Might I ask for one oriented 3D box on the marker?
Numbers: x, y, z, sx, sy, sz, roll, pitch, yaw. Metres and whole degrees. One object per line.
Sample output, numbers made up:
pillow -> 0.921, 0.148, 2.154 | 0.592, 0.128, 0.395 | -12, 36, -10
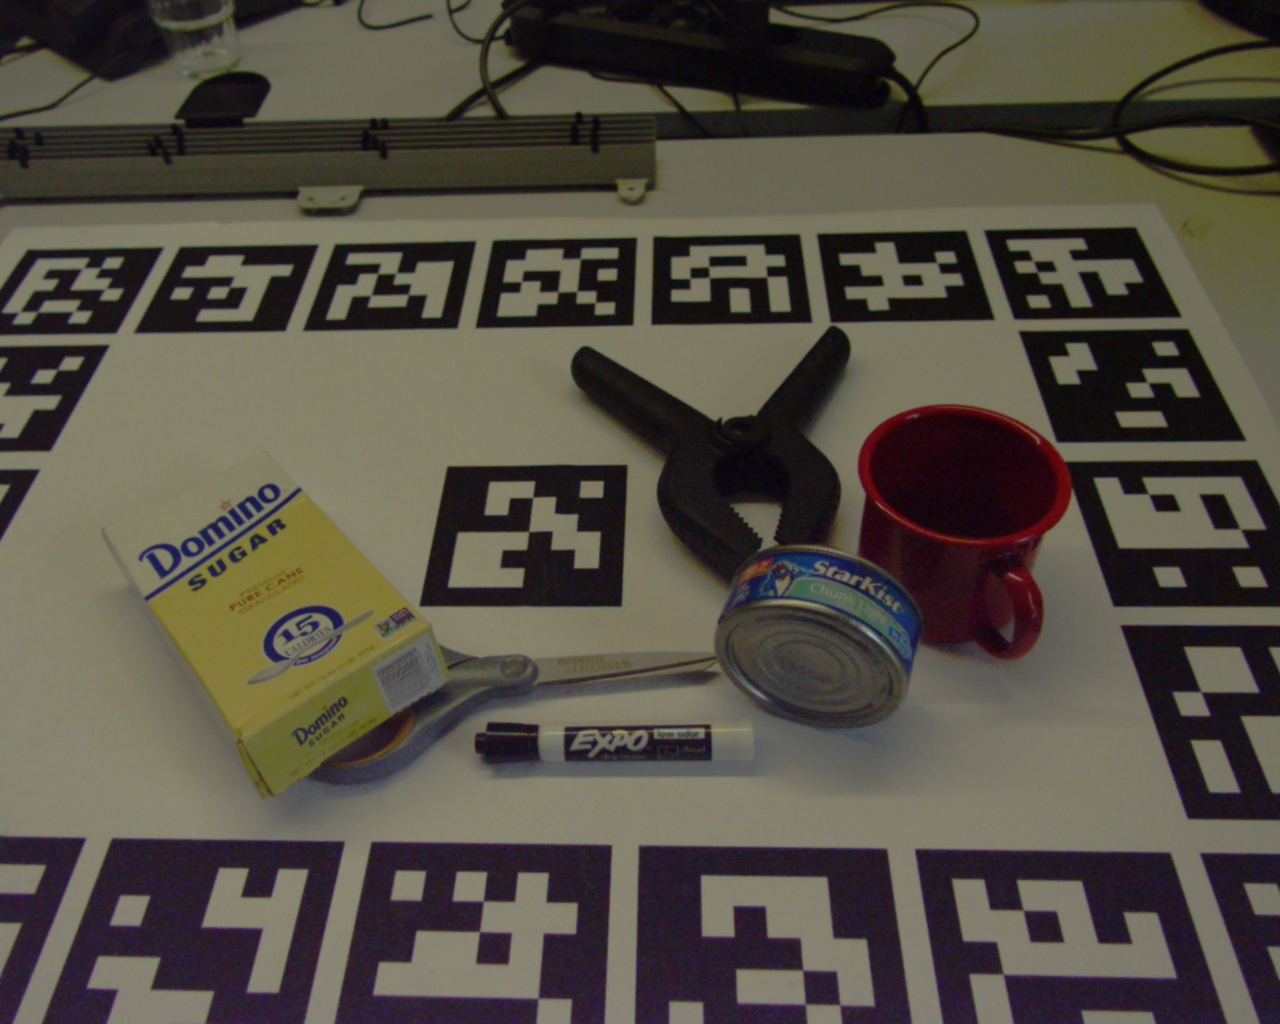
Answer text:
marker -> -0.029, 0.107, 0.535 | 0.121, 0.019, 0.020 | -3, 48, 1

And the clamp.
clamp -> 0.045, -0.023, 0.653 | 0.165, 0.036, 0.204 | -8, 49, -5

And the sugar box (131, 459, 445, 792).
sugar box -> -0.181, 0.048, 0.572 | 0.092, 0.045, 0.179 | -29, 47, -22

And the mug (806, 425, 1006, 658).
mug -> 0.134, 0.024, 0.565 | 0.092, 0.081, 0.118 | -21, 46, -16

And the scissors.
scissors -> -0.074, 0.075, 0.563 | 0.202, 0.016, 0.088 | -7, 44, -6

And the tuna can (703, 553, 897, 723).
tuna can -> 0.073, 0.060, 0.529 | 0.086, 0.085, 0.033 | 13, 49, 14
